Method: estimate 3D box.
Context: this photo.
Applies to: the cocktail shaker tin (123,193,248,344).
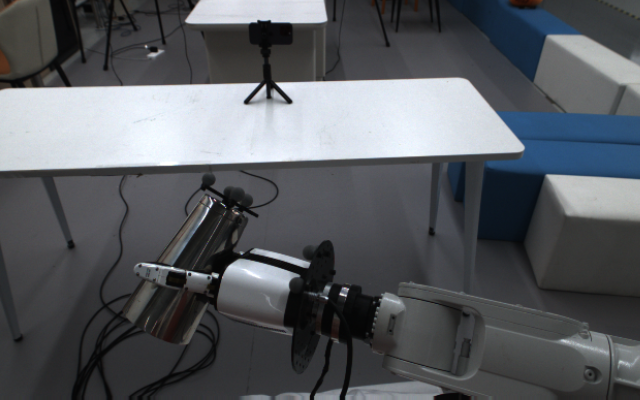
[{"bbox_3d":[-0.161,0.080,0.608,0.093,0.093,0.170,26,83,31],"label":"cocktail shaker tin"}]
